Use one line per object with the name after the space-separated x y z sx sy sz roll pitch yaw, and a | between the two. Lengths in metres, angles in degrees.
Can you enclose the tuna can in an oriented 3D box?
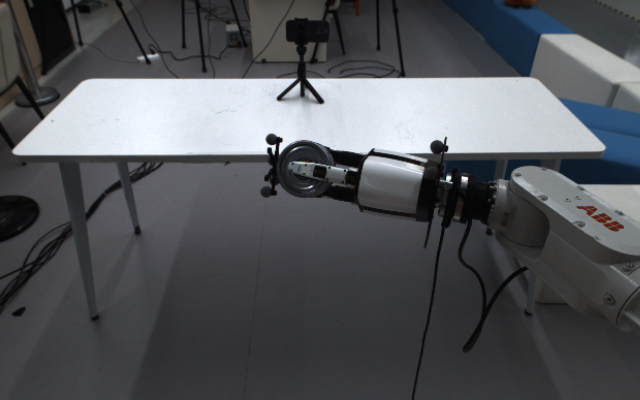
-0.021 -0.048 0.722 0.085 0.085 0.034 10 2 11 | tuna can
